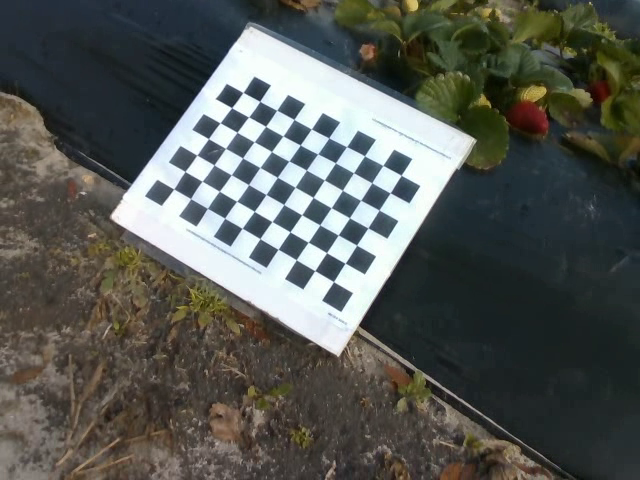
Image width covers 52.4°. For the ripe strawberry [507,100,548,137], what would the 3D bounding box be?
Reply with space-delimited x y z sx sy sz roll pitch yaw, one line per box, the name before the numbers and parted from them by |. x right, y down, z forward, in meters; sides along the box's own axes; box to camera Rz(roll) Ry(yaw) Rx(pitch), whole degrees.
ripe strawberry | 0.236 -0.142 0.707 0.050 0.064 0.043 -25 -18 -5
